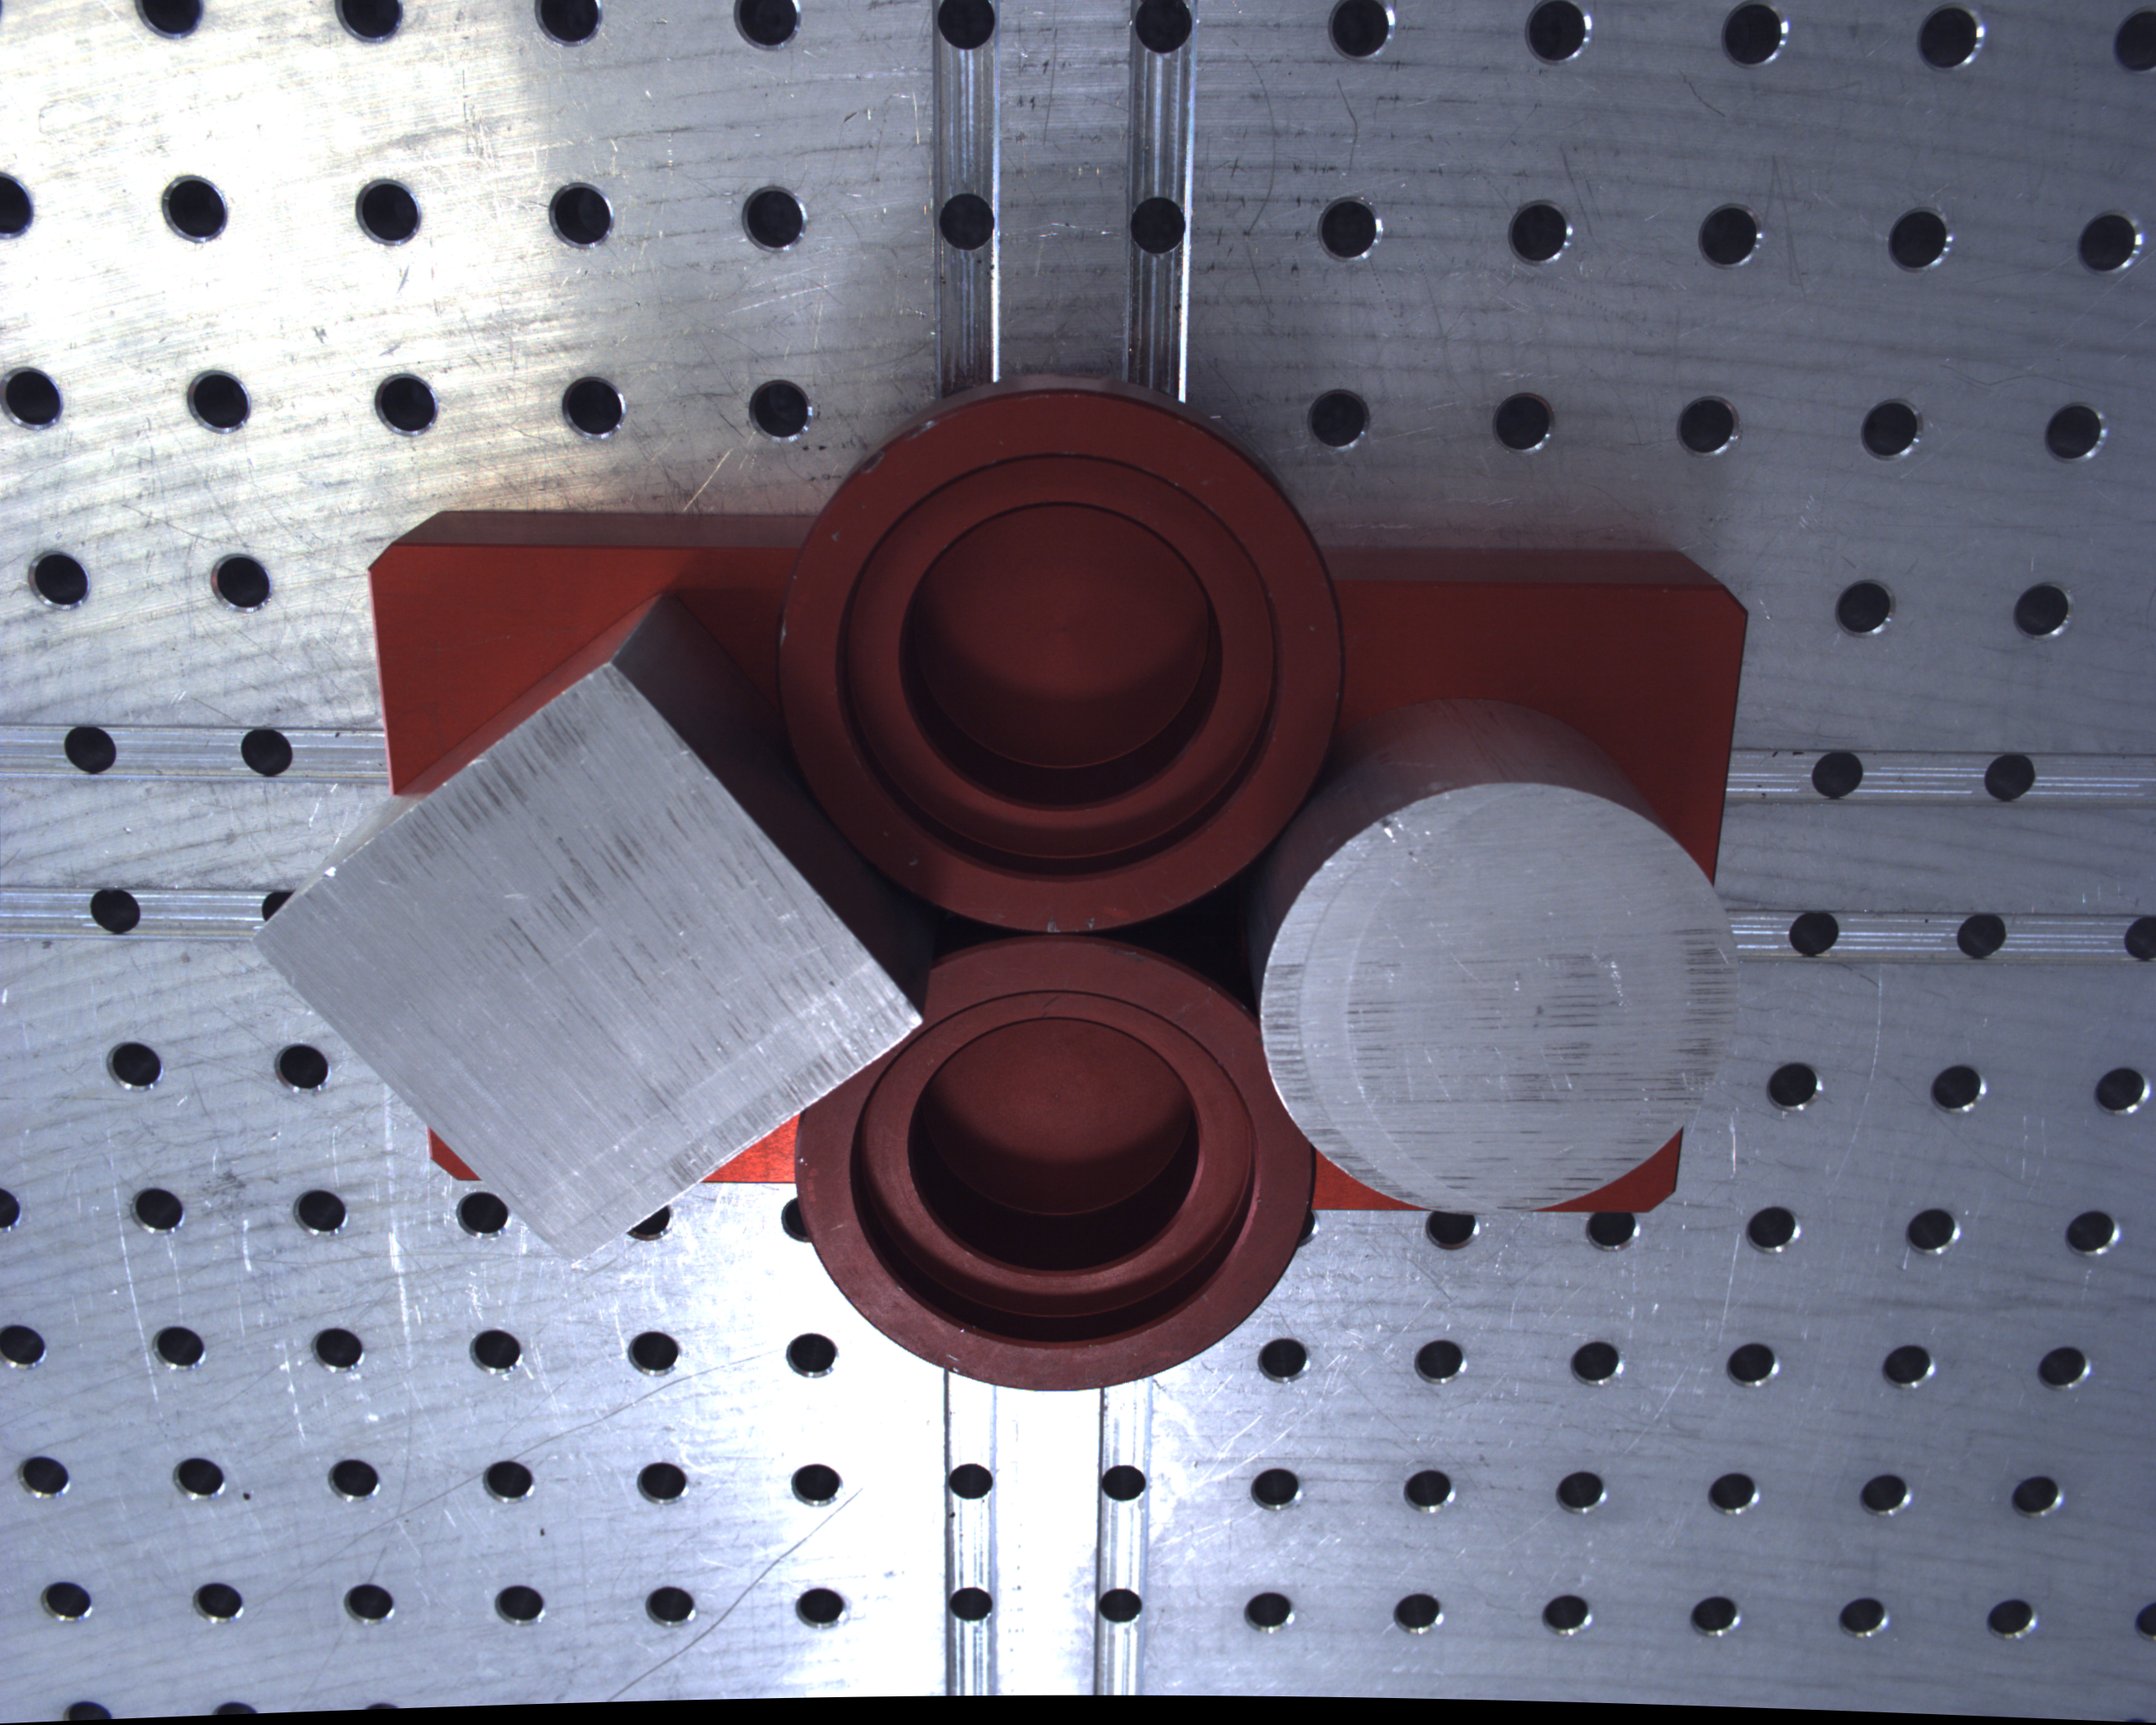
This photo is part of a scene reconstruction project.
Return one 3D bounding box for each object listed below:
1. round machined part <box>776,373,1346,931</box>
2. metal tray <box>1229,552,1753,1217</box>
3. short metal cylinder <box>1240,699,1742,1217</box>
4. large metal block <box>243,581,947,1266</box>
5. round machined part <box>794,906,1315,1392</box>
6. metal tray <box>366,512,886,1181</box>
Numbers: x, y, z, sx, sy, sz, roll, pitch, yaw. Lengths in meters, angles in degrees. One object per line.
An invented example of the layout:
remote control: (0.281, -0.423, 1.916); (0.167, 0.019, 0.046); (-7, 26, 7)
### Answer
round machined part: (-0.003, -0.040, 0.380); (0.099, 0.042, 0.097); (0, 110, 0)
metal tray: (0.076, 0.006, 0.411); (0.091, 0.030, 0.129); (1, 110, -1)
short metal cylinder: (0.071, 0.016, 0.374); (0.081, 0.050, 0.079); (0, 110, 0)
large metal block: (-0.081, 0.010, 0.371); (0.080, 0.050, 0.080); (-35, 107, 12)
round machined part: (-0.004, 0.052, 0.414); (0.099, 0.042, 0.097); (0, 110, 0)
metal tray: (-0.083, -0.002, 0.409); (0.091, 0.030, 0.129); (0, 110, -2)
